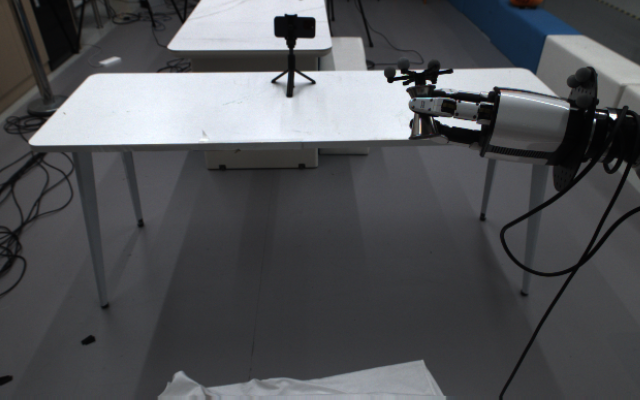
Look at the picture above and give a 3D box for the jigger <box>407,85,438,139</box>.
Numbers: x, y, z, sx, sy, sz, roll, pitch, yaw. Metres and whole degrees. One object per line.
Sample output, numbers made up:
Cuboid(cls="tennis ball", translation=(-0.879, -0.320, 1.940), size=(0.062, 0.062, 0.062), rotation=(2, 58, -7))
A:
Cuboid(cls="jigger", translation=(0.140, -0.121, 0.664), size=(0.043, 0.071, 0.043), rotation=(-4, 1, 0))
